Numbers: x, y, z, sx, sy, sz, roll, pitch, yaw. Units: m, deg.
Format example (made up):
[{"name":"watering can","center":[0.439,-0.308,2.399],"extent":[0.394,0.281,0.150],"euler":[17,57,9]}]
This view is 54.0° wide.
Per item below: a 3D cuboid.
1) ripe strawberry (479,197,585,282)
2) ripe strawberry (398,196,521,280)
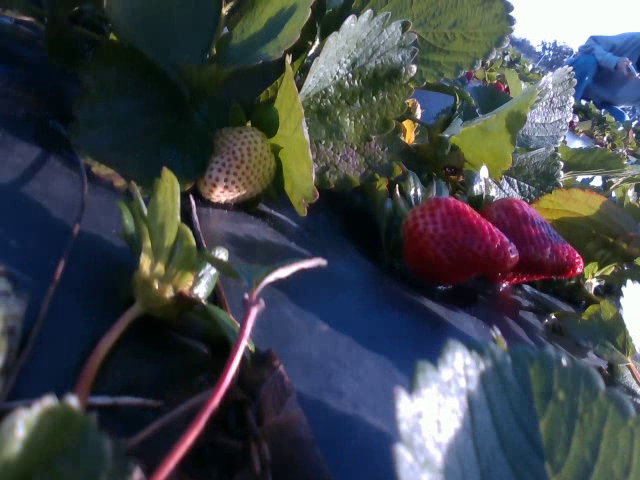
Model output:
[{"name":"ripe strawberry","center":[0.093,0.004,0.279],"extent":[0.057,0.046,0.052],"euler":[26,41,33]},{"name":"ripe strawberry","center":[0.055,0.002,0.238],"extent":[0.051,0.037,0.043],"euler":[23,47,27]}]
